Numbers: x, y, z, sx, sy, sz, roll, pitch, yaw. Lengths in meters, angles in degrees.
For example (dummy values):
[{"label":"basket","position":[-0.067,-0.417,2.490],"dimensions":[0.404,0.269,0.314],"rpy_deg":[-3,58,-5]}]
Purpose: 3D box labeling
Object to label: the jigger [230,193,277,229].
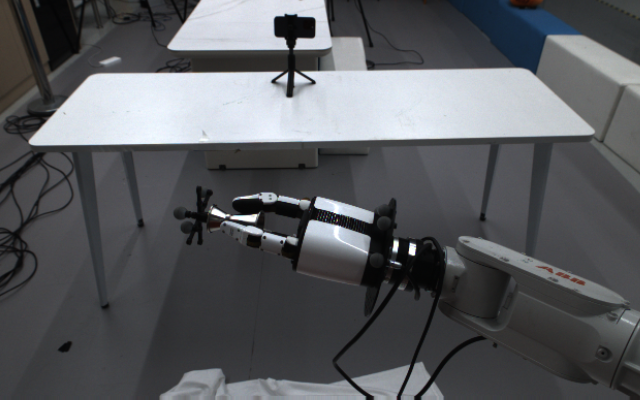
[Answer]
[{"label":"jigger","position":[-0.104,0.025,0.652],"dimensions":[0.071,0.043,0.043],"rpy_deg":[8,35,6]}]
